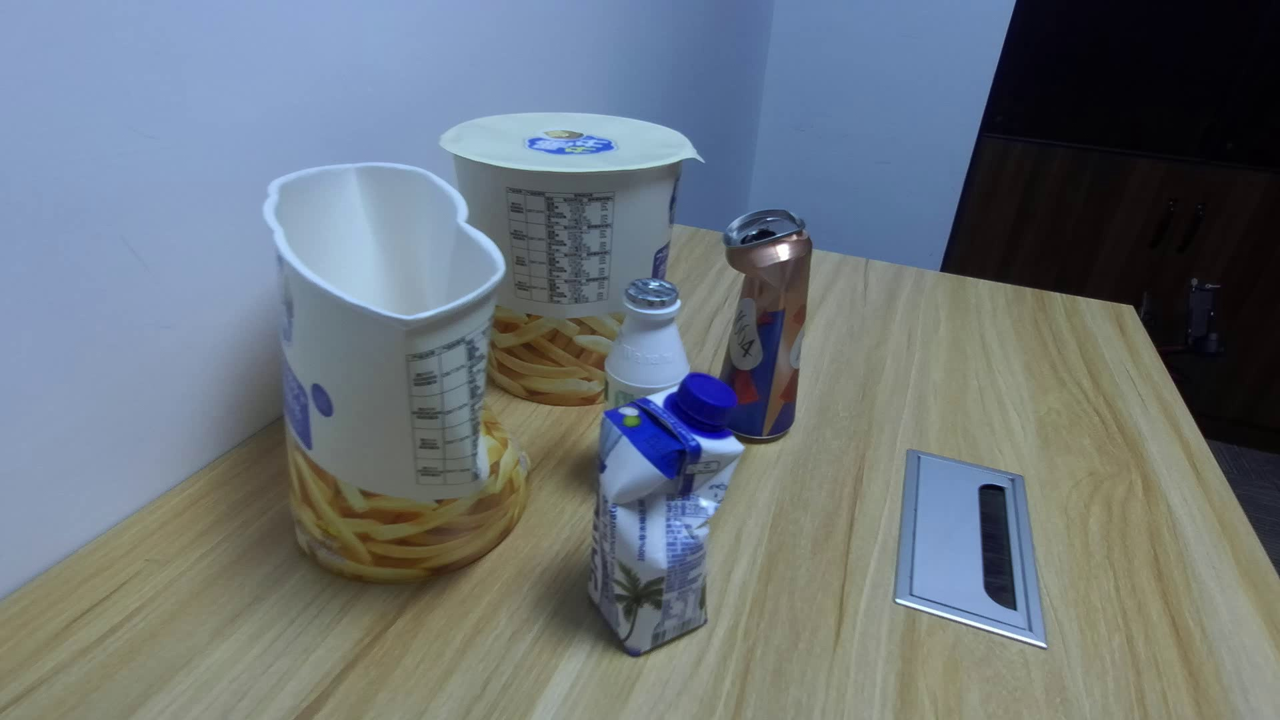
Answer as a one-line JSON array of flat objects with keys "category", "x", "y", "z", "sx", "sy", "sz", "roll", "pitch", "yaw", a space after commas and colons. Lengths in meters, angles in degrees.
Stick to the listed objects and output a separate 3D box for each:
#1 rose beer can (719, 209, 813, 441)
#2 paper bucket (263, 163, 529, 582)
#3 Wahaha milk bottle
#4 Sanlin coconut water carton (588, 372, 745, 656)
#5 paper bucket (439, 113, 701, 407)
[{"category": "rose beer can", "x": 0.090, "y": -0.022, "z": 0.517, "sx": 0.069, "sy": 0.168, "sz": 0.070, "roll": 23, "pitch": 39, "yaw": 33}, {"category": "paper bucket", "x": -0.140, "y": 0.005, "z": 0.410, "sx": 0.217, "sy": 0.199, "sz": 0.148, "roll": 22, "pitch": 35, "yaw": 29}, {"category": "Wahaha milk bottle", "x": 0.003, "y": 0.022, "z": 0.444, "sx": 0.053, "sy": 0.147, "sz": 0.053, "roll": 3, "pitch": 31, "yaw": -2}, {"category": "Sanlin coconut water carton", "x": 0.010, "y": 0.077, "z": 0.355, "sx": 0.070, "sy": 0.144, "sz": 0.060, "roll": -13, "pitch": 35, "yaw": -28}, {"category": "paper bucket", "x": -0.057, "y": -0.083, "z": 0.576, "sx": 0.198, "sy": 0.194, "sz": 0.198, "roll": 2, "pitch": 30, "yaw": -1}]
